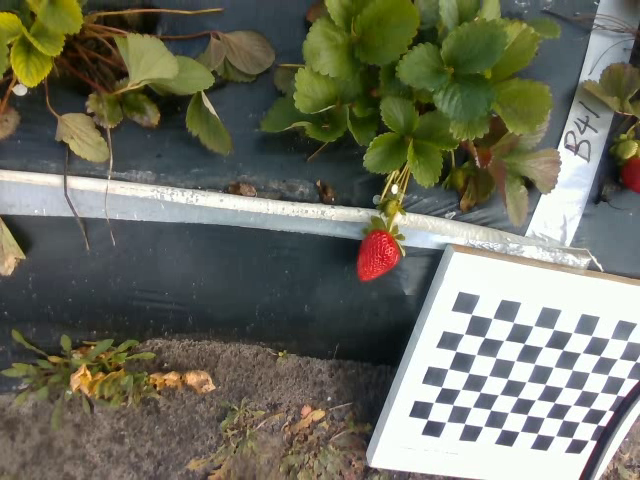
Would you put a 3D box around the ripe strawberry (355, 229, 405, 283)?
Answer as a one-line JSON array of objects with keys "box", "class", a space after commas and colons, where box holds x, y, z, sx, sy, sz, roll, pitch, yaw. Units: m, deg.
[{"box": [0.049, 0.015, 0.550, 0.048, 0.053, 0.030, 50, -14, -26], "class": "ripe strawberry"}]
